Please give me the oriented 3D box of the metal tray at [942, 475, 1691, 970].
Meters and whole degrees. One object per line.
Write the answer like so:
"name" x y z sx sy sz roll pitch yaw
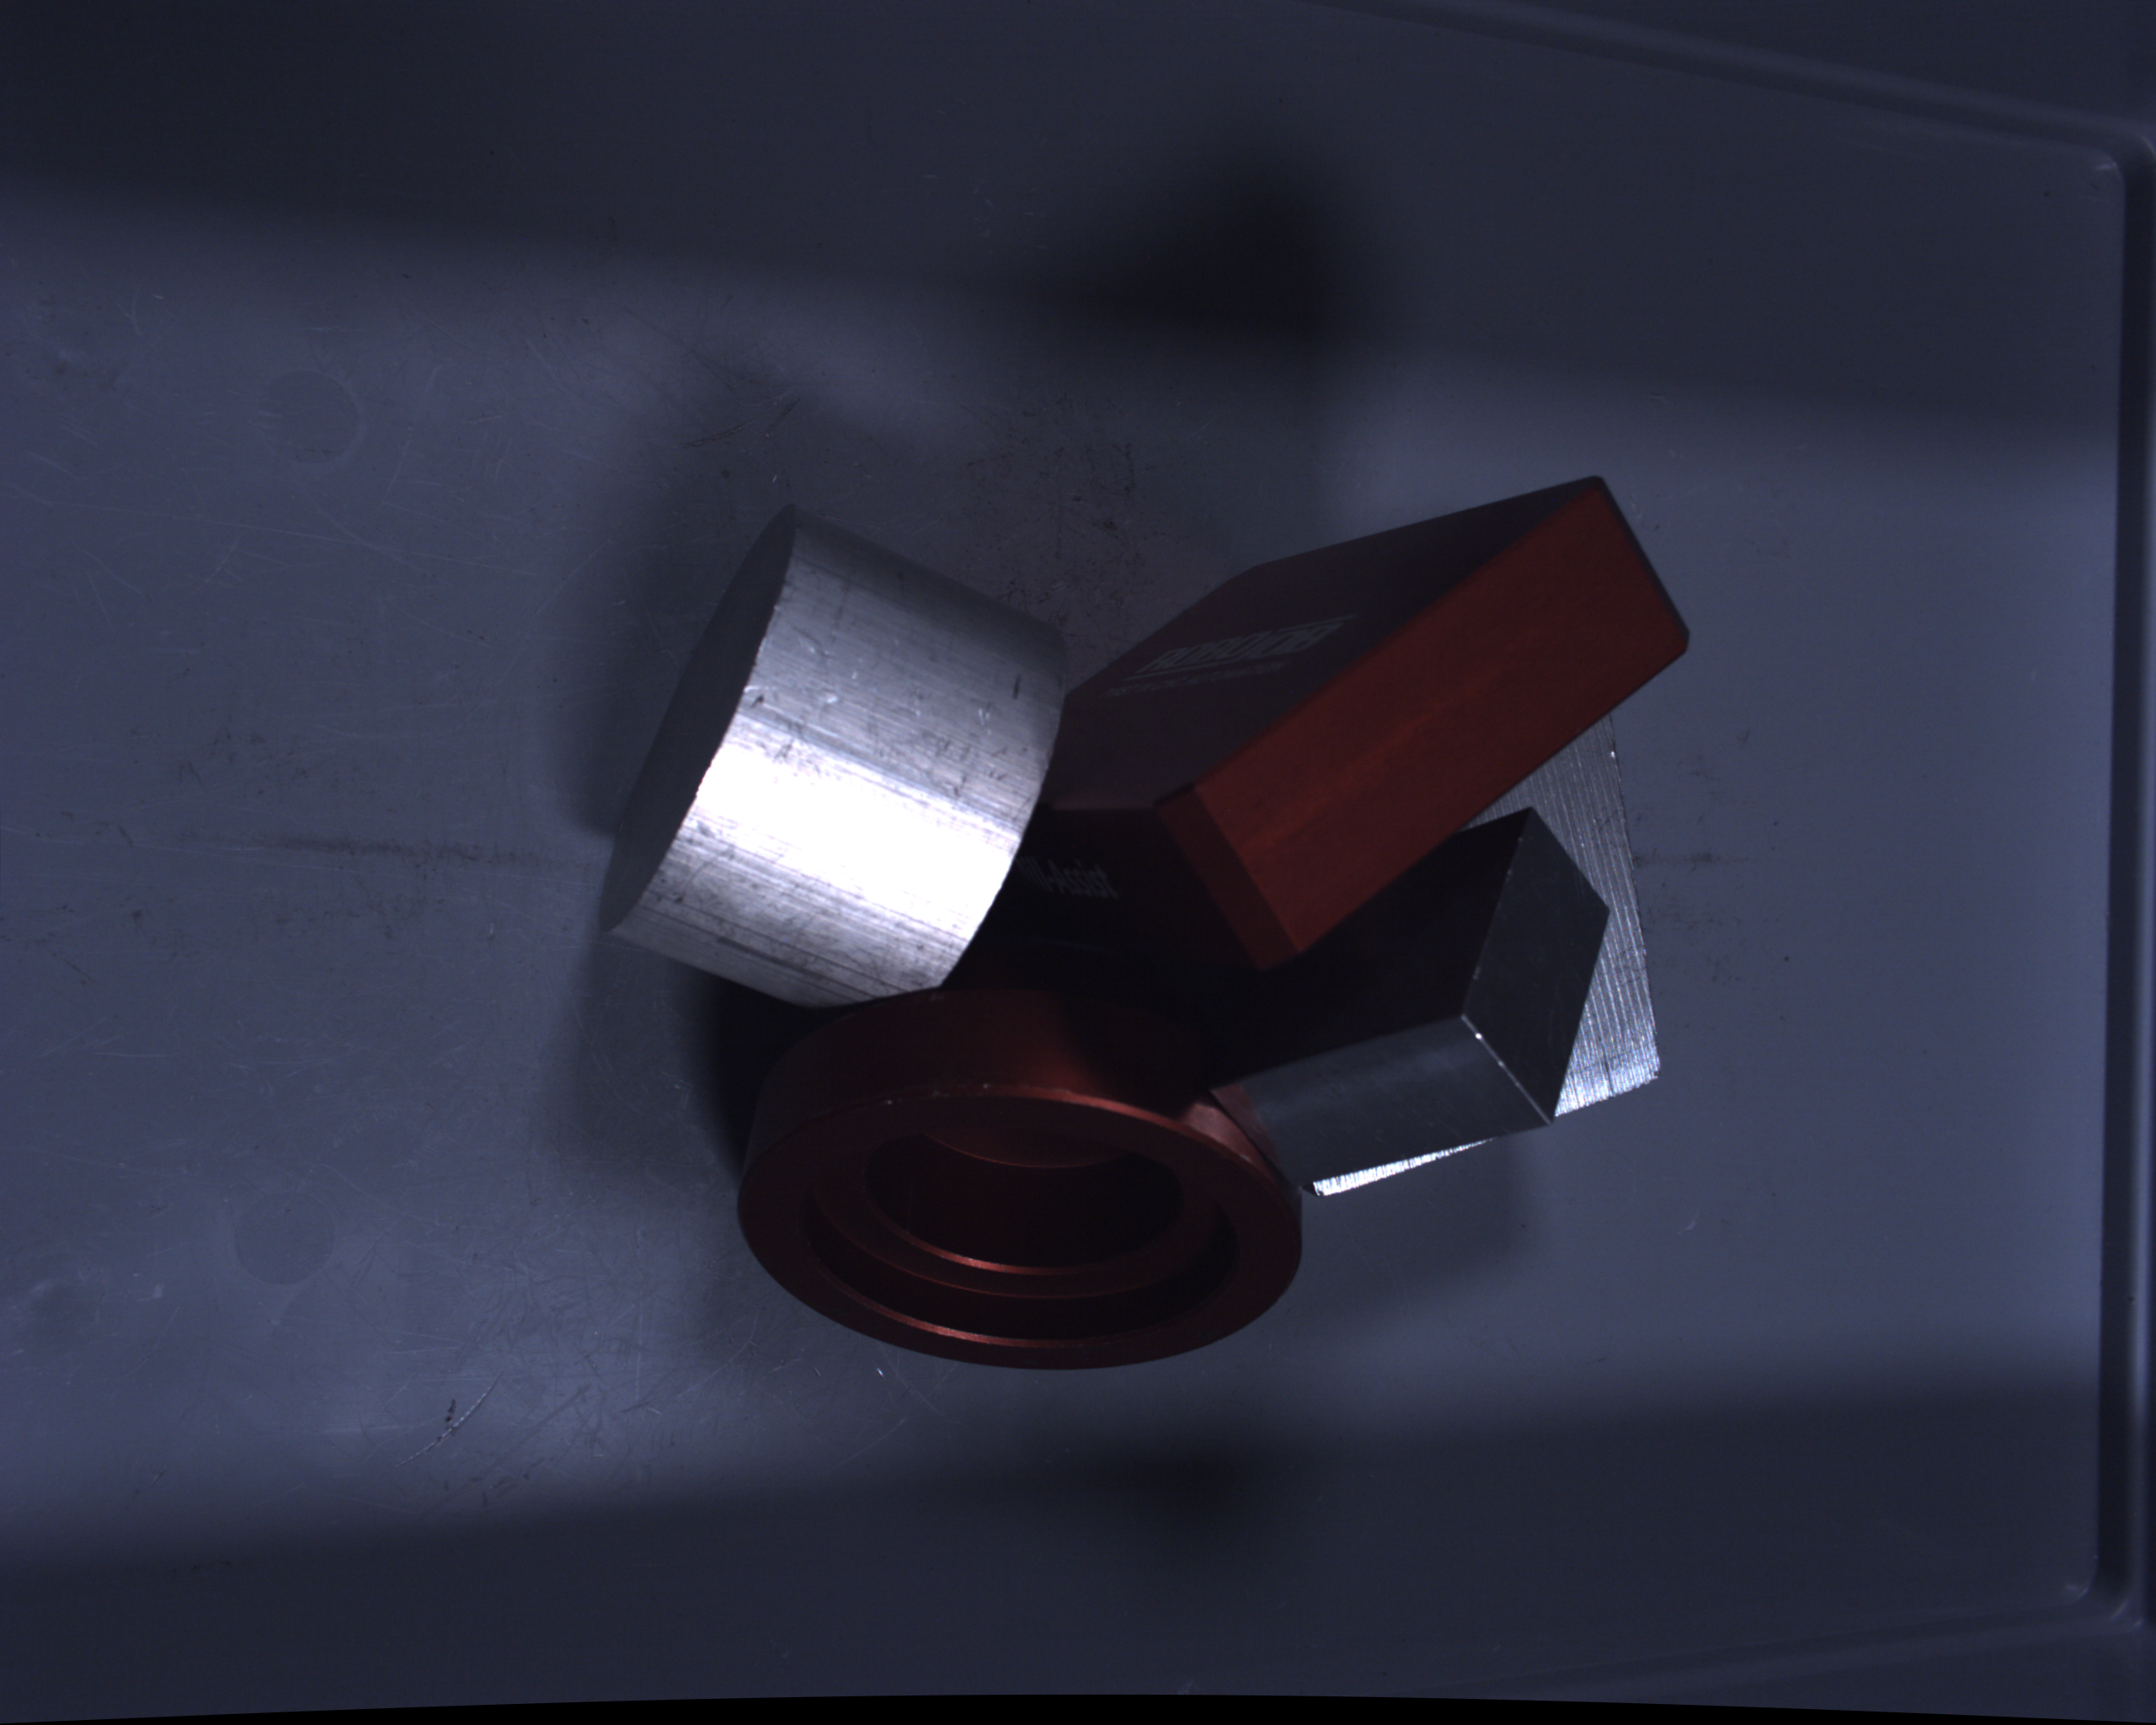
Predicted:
"metal tray" 0.032 -0.023 0.366 0.090 0.130 0.030 -37 103 -17

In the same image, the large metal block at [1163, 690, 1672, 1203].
"large metal block" 0.063 0.012 0.412 0.081 0.050 0.079 -15 100 -20

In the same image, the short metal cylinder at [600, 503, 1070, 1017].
"short metal cylinder" -0.043 -0.016 0.364 0.050 0.080 0.080 24 82 -19

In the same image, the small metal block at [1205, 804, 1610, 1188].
"small metal block" 0.055 0.022 0.345 0.025 0.050 0.050 50 43 -21

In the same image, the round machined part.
"round machined part" -0.009 0.051 0.378 0.099 0.097 0.042 22 47 -19
